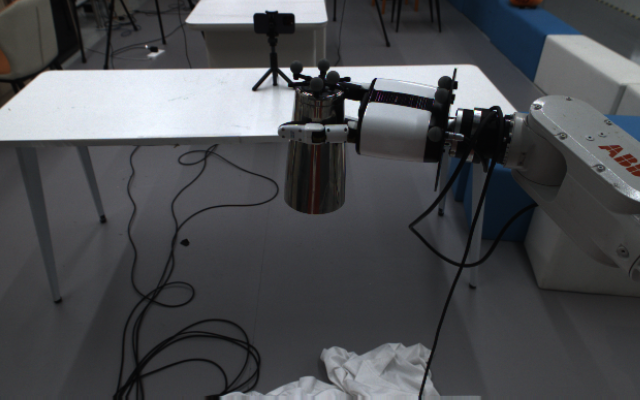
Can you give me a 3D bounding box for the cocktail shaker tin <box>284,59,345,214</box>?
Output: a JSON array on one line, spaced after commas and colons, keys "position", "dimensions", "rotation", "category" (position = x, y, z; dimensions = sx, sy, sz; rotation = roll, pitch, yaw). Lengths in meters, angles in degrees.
[{"position": [-0.002, -0.079, 0.683], "dimensions": [0.093, 0.170, 0.093], "rotation": [2, 33, -2], "category": "cocktail shaker tin"}]
